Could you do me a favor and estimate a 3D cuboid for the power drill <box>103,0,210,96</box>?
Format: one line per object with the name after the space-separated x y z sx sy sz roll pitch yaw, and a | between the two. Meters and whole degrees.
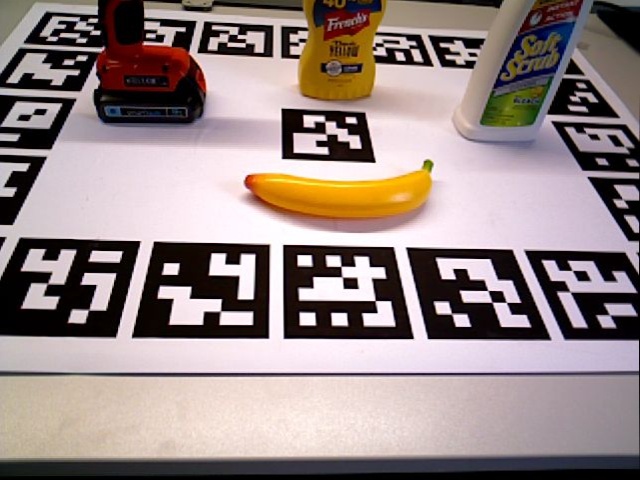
-0.156 -0.242 0.537 0.183 0.191 0.056 -5 47 -7 | power drill

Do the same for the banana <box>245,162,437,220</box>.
0.028 -0.051 0.512 0.196 0.040 0.073 -4 49 -7 | banana

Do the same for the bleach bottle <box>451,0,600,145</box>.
0.221 -0.221 0.560 0.102 0.257 0.066 8 46 -1 | bleach bottle

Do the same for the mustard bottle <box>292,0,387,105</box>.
0.024 -0.249 0.609 0.095 0.196 0.057 -3 47 -13 | mustard bottle
